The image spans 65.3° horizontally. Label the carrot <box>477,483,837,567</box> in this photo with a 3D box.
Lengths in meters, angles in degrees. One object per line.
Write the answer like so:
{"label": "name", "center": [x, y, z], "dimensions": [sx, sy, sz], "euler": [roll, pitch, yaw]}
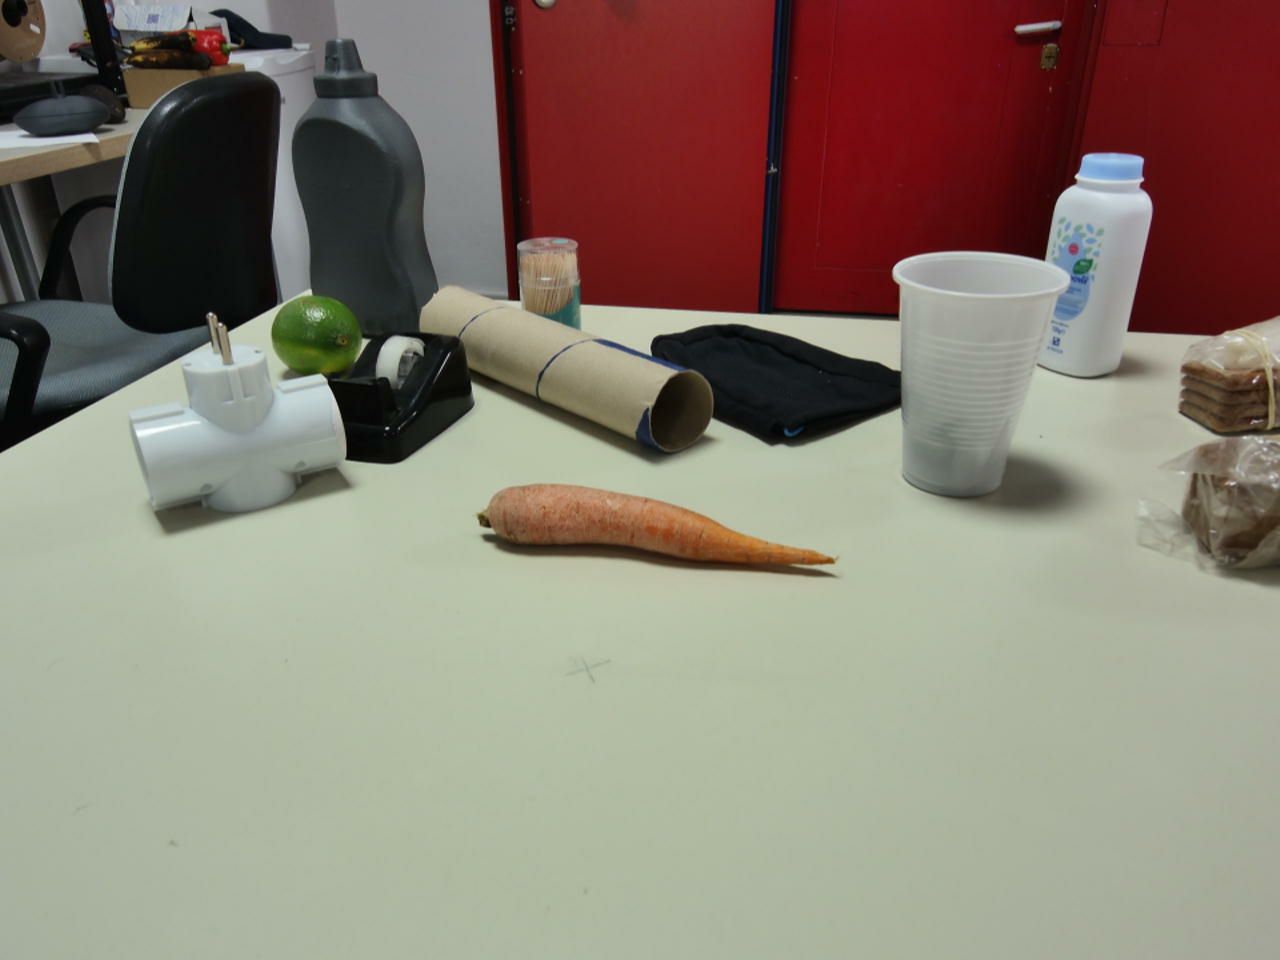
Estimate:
{"label": "carrot", "center": [0.005, 0.020, 0.446], "dimensions": [0.163, 0.029, 0.031], "euler": [5, 25, 12]}
